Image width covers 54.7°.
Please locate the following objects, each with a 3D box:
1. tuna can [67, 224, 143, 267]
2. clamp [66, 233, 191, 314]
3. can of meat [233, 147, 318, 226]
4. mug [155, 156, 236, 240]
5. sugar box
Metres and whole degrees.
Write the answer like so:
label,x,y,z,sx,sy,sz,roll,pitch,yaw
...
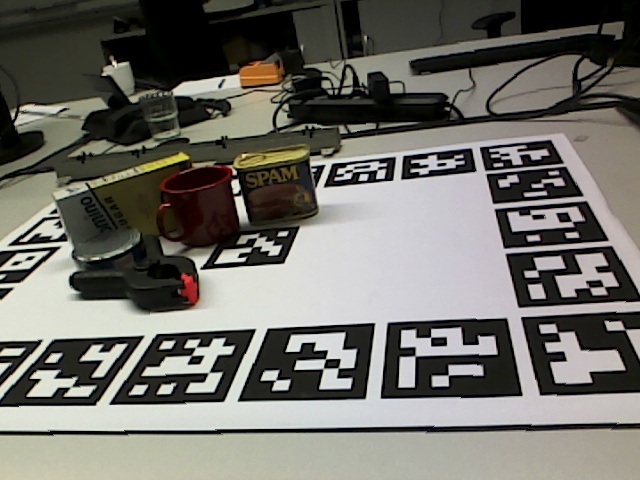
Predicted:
label,x,y,z,sx,sy,sz,roll,pitch,yaw
tuna can,-0.266,0.015,0.770,0.086,0.033,0.086,-9,29,4
clamp,-0.200,0.042,0.705,0.121,0.036,0.166,-26,35,-37
can of meat,-0.056,-0.070,0.818,0.102,0.083,0.058,-6,26,6
mug,-0.164,-0.047,0.796,0.094,0.081,0.117,12,36,36
sugar box,-0.250,-0.047,0.833,0.176,0.092,0.045,-20,26,-20
